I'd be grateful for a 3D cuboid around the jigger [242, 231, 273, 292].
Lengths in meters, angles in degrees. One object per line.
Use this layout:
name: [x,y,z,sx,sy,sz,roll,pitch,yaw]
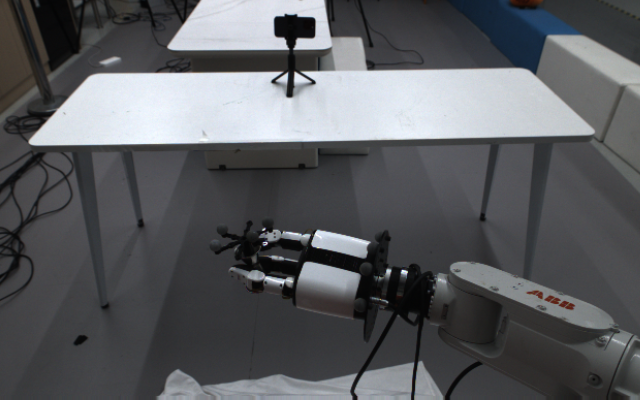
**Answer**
jigger: [-0.098,0.099,0.721,0.043,0.071,0.043,-10,32,6]
